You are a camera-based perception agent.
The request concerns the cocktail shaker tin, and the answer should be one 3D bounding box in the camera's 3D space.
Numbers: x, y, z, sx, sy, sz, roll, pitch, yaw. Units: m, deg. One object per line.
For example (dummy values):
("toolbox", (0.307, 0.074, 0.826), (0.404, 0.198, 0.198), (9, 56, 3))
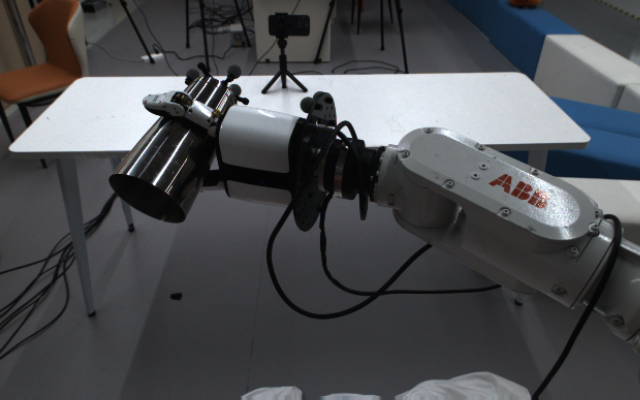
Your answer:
("cocktail shaker tin", (-0.165, -0.068, 0.580), (0.093, 0.093, 0.170), (13, 58, 16))
